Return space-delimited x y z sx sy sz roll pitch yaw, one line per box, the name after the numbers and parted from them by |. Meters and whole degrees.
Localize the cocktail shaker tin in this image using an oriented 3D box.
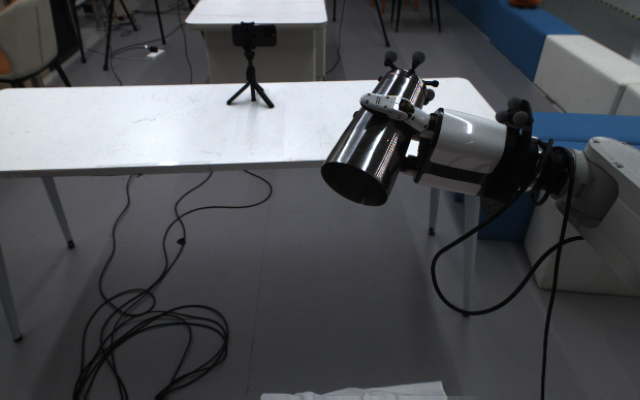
0.082 -0.090 0.631 0.093 0.093 0.170 18 66 21 | cocktail shaker tin
